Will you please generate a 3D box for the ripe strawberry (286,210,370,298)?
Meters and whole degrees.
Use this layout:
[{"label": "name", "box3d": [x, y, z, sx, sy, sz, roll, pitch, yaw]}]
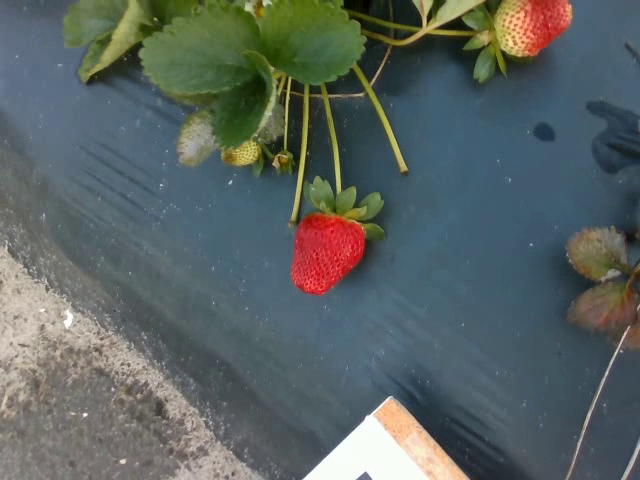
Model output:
[{"label": "ripe strawberry", "box3d": [0.001, 0.009, 0.332, 0.046, 0.055, 0.042, 1, -40, 48]}]
